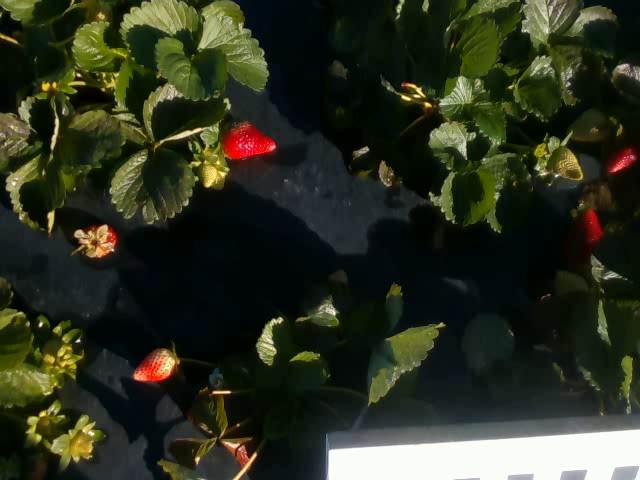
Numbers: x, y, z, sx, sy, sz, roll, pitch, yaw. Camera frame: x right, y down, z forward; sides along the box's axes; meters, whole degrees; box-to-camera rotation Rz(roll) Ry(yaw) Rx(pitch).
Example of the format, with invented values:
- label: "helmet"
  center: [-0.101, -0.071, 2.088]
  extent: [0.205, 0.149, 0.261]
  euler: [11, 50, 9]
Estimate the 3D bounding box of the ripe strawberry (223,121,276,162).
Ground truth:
- label: "ripe strawberry"
  center: [-0.072, -0.100, 0.597]
  extent: [0.064, 0.050, 0.052]
  euler: [9, 26, 2]
